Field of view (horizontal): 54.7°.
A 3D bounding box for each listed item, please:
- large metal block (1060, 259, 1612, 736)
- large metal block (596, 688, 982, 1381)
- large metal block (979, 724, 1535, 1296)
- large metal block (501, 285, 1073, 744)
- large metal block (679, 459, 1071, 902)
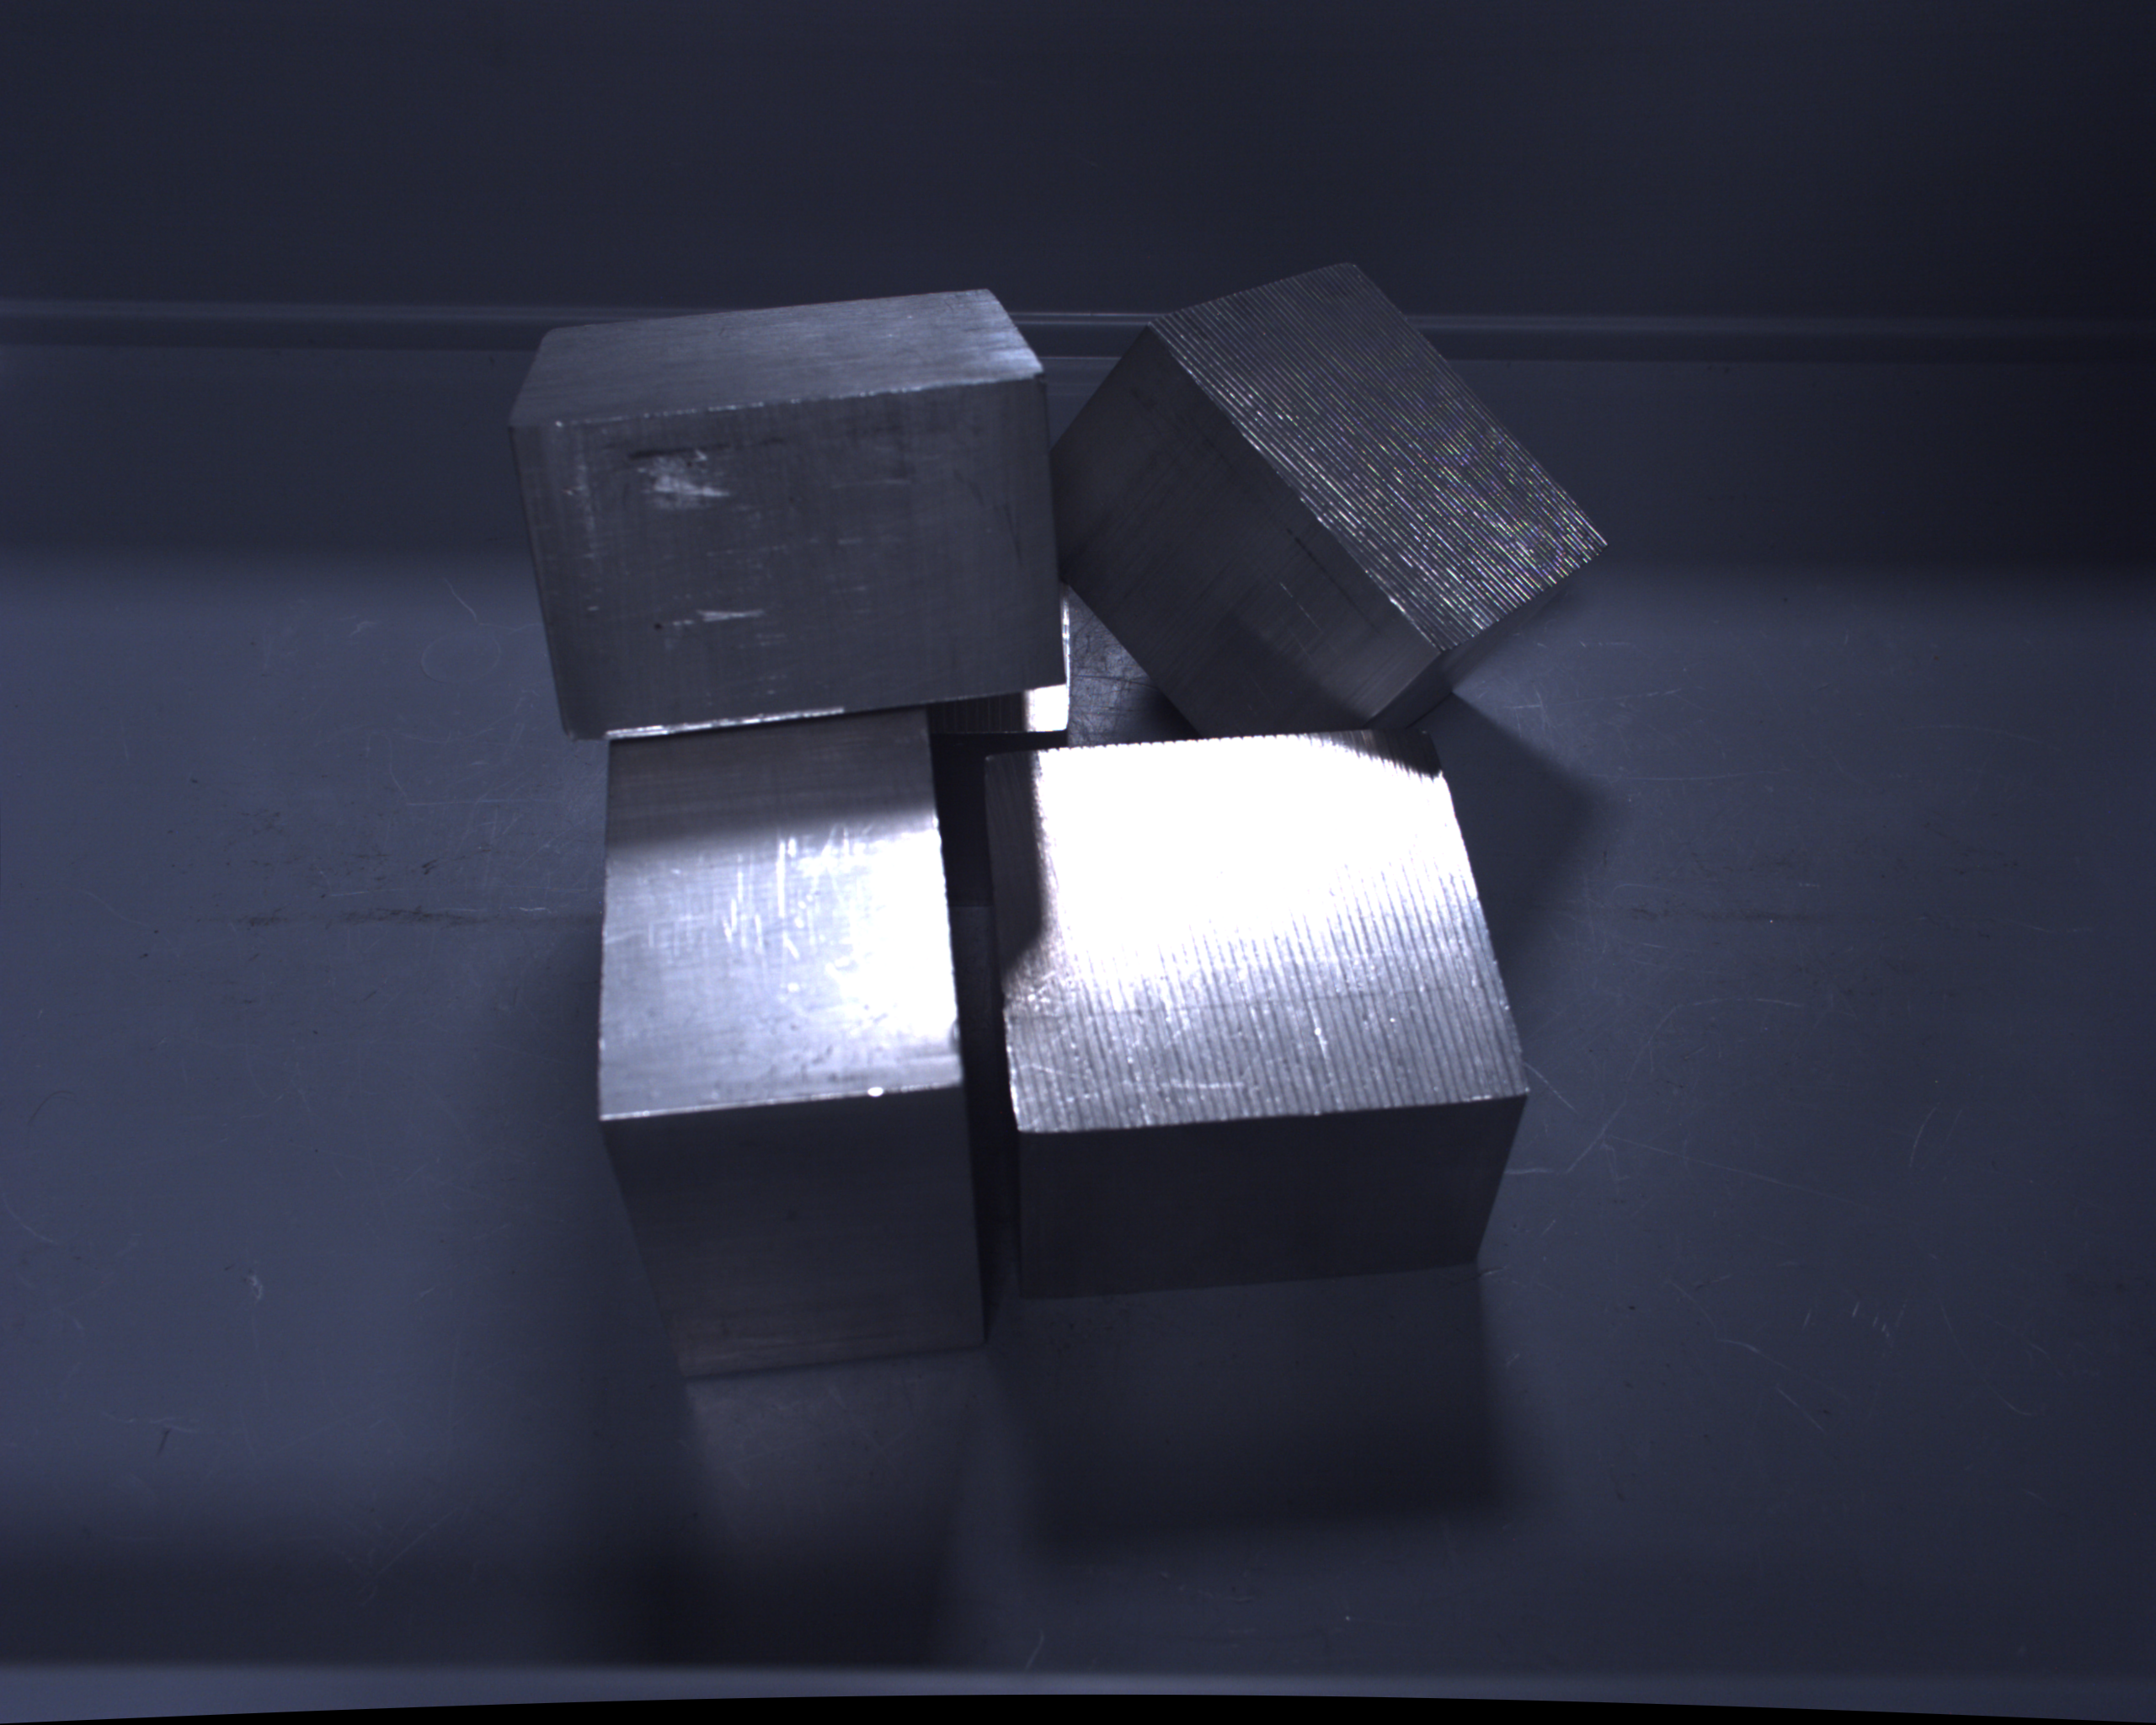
[{"bbox_3d":[0.046,-0.067,0.410,0.080,0.050,0.081,50,41,7],"label":"large metal block"},{"bbox_3d":[-0.046,0.028,0.343,0.050,0.080,0.080,-5,50,-5],"label":"large metal block"},{"bbox_3d":[0.026,0.024,0.364,0.081,0.050,0.080,-4,50,-4],"label":"large metal block"},{"bbox_3d":[-0.048,-0.062,0.354,0.081,0.050,0.080,-7,25,-6],"label":"large metal block"},{"bbox_3d":[-0.042,-0.038,0.419,0.081,0.050,0.080,-1,50,-1],"label":"large metal block"}]
